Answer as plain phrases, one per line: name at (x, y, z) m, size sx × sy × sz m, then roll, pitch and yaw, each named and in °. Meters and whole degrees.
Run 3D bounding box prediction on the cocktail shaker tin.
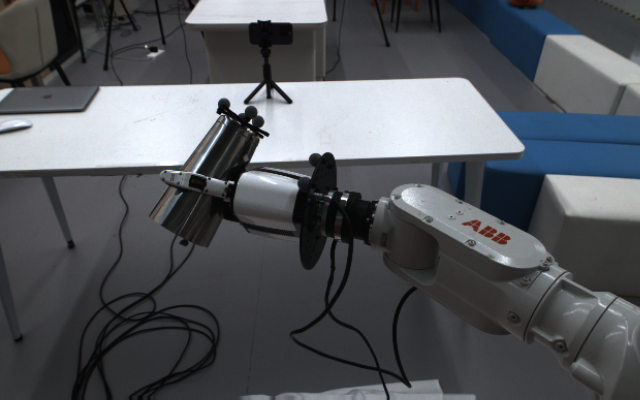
cocktail shaker tin at (-0.156, -0.034, 0.679) m, size 0.093 × 0.093 × 0.170 m, roll 26°, pitch 83°, yaw 31°
